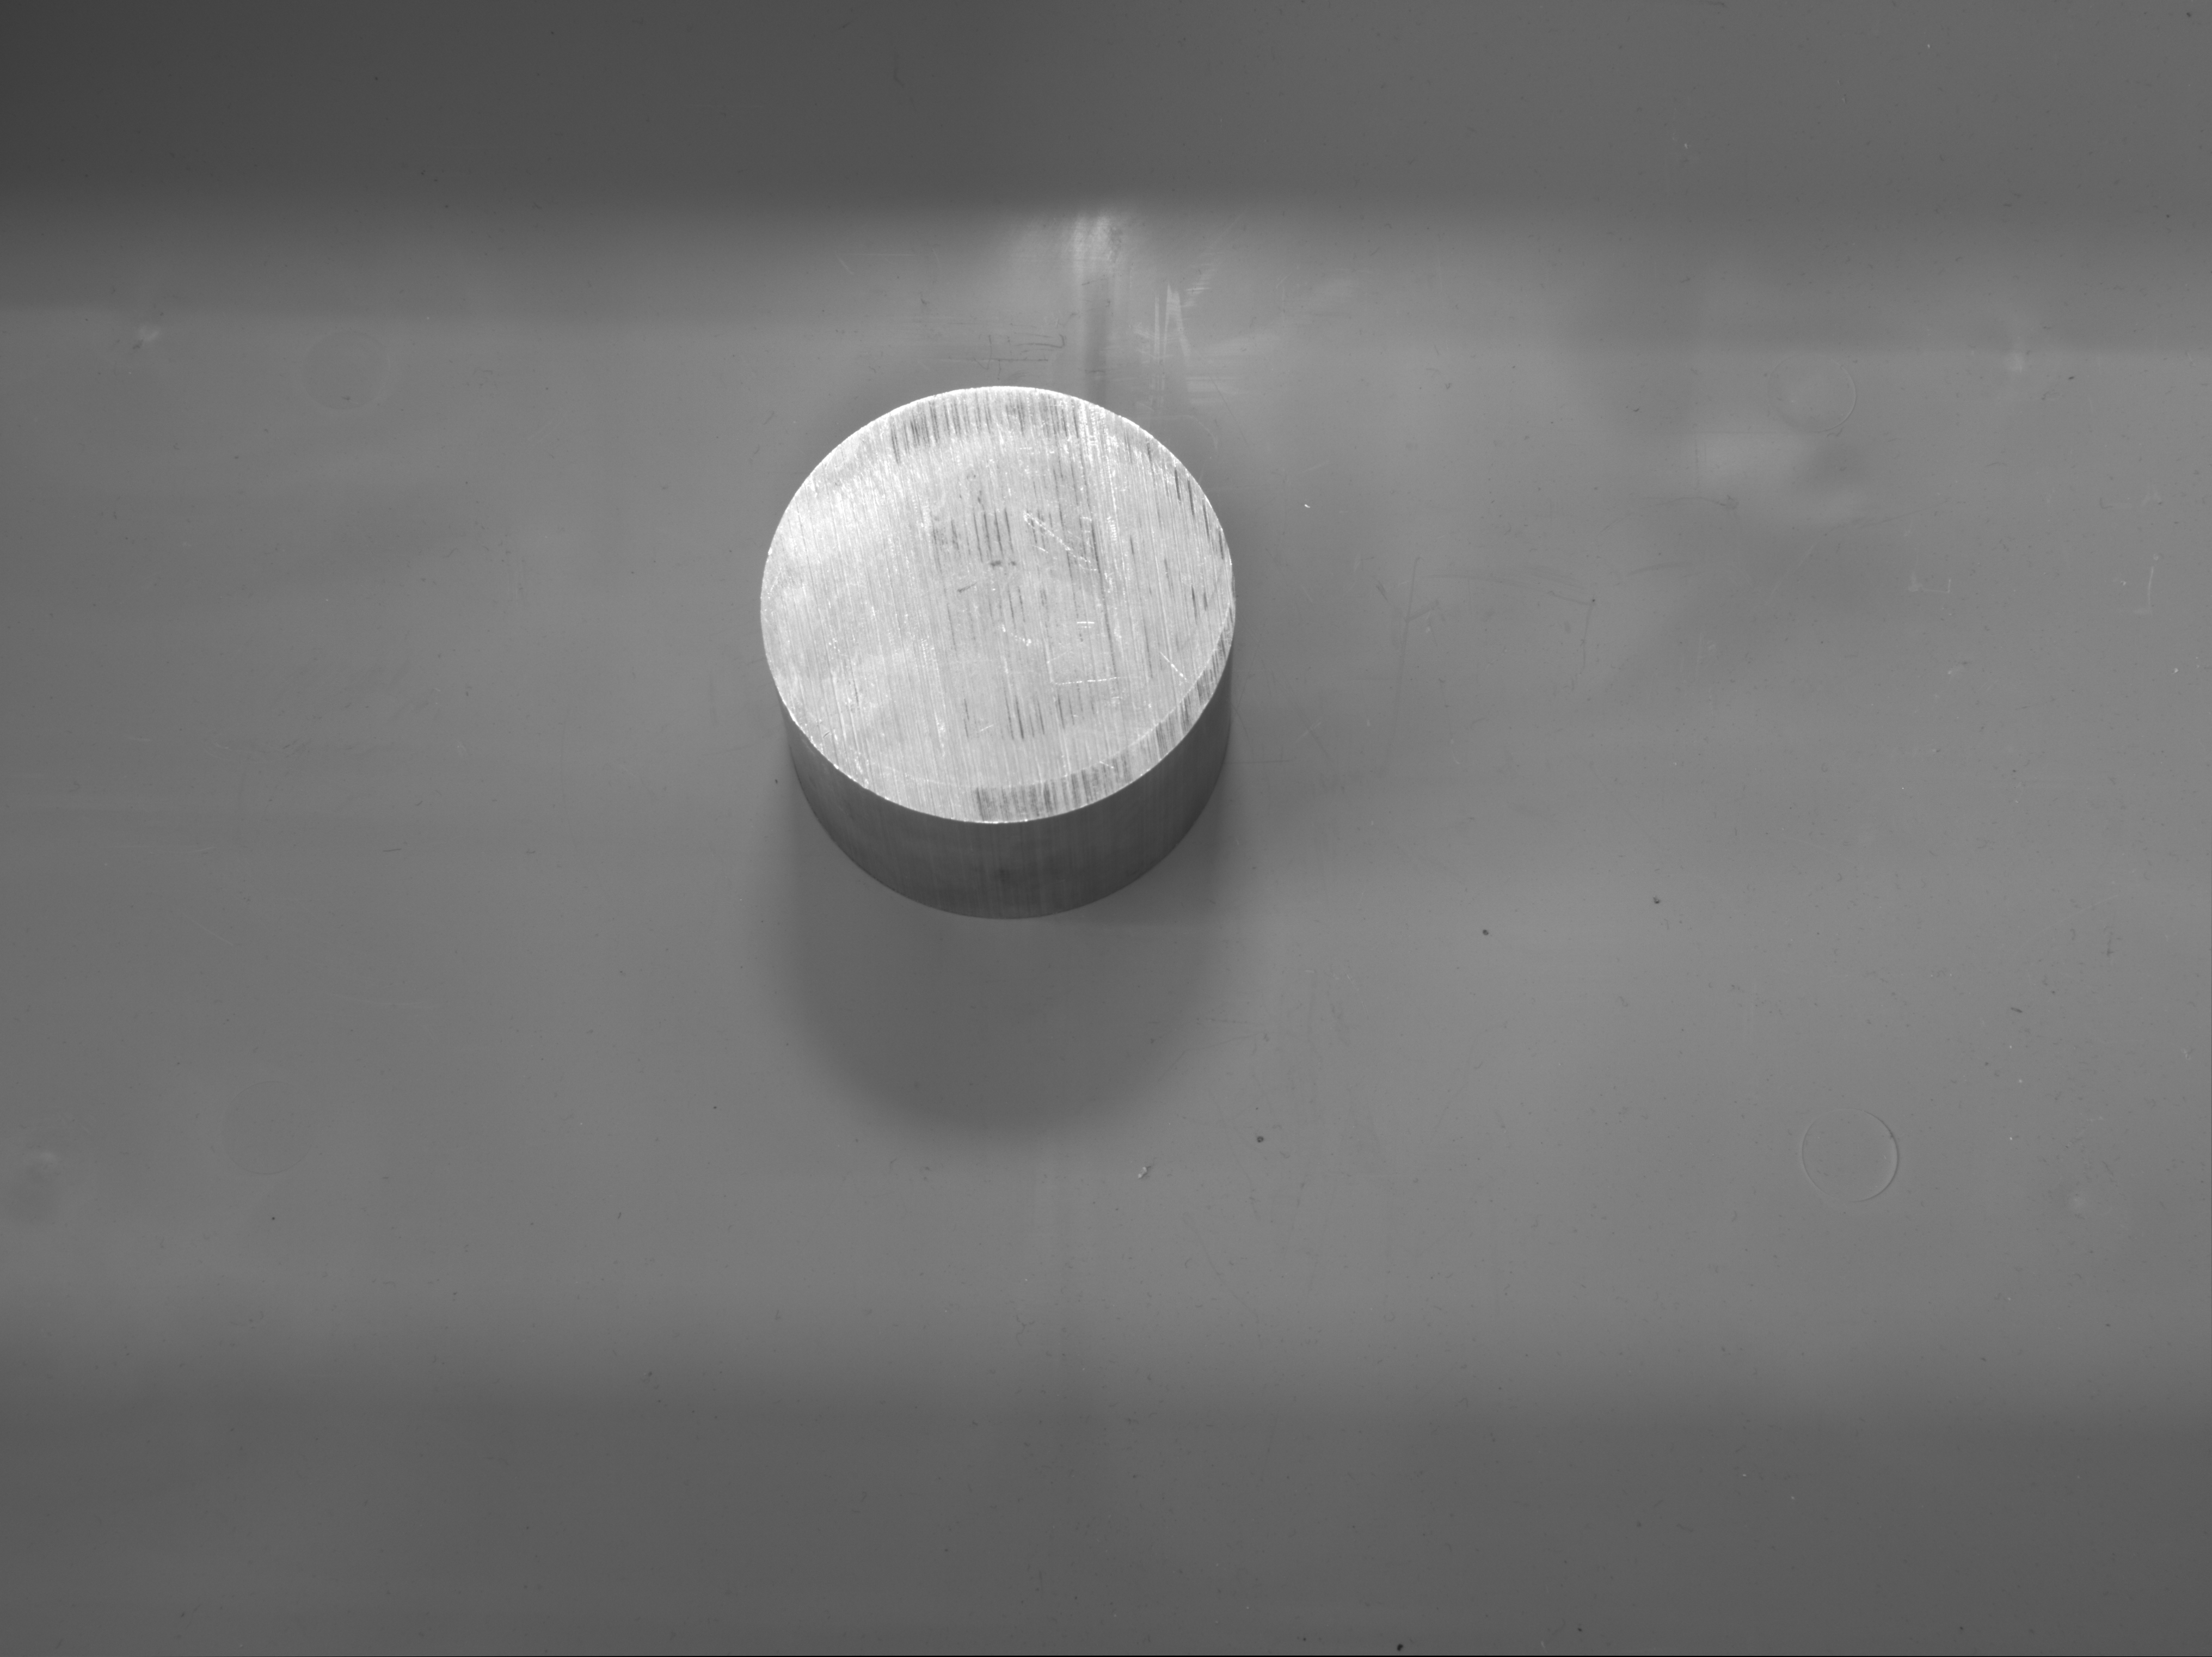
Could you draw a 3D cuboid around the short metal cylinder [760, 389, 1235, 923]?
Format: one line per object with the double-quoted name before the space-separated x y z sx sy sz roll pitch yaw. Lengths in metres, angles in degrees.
"short metal cylinder" -0.018 -0.029 0.641 0.080 0.050 0.080 0 70 0
